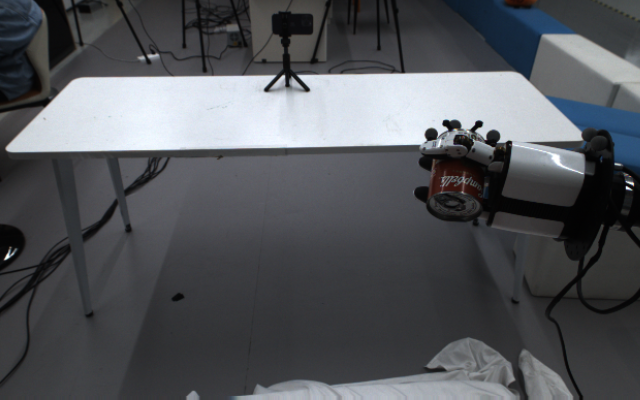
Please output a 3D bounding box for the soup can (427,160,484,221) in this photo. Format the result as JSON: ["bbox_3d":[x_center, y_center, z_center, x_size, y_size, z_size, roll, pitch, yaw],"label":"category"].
[{"bbox_3d":[0.176,-0.033,0.614,0.067,0.067,0.101,9,58,10],"label":"soup can"}]
